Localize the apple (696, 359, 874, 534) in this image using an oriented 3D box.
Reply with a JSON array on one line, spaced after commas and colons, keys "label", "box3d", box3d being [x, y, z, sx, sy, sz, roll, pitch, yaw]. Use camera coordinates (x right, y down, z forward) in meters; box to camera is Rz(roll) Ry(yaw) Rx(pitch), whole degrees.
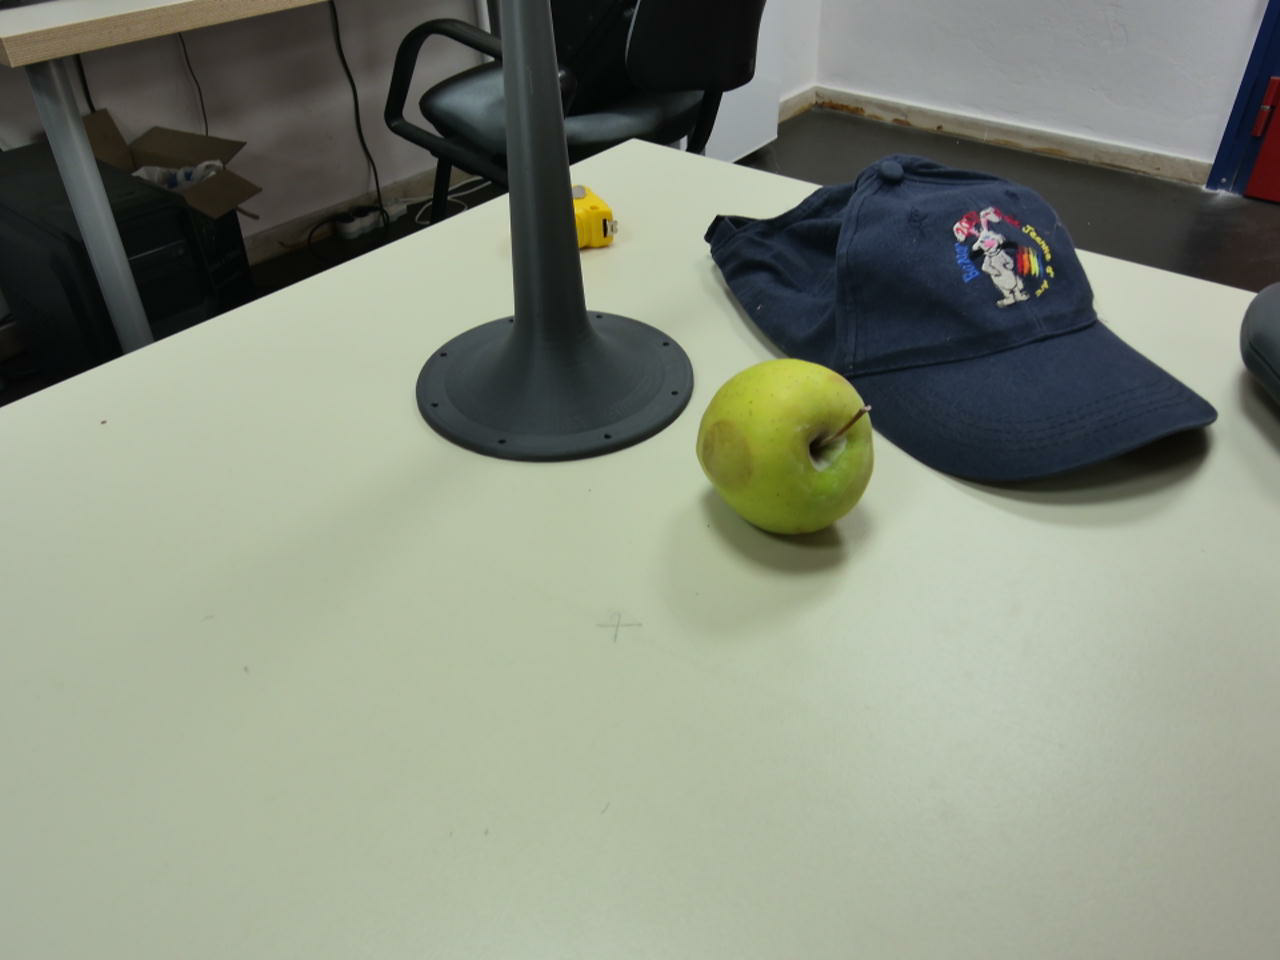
[{"label": "apple", "box3d": [0.063, -0.016, 0.428, 0.072, 0.075, 0.077, -4, 36, -4]}]
